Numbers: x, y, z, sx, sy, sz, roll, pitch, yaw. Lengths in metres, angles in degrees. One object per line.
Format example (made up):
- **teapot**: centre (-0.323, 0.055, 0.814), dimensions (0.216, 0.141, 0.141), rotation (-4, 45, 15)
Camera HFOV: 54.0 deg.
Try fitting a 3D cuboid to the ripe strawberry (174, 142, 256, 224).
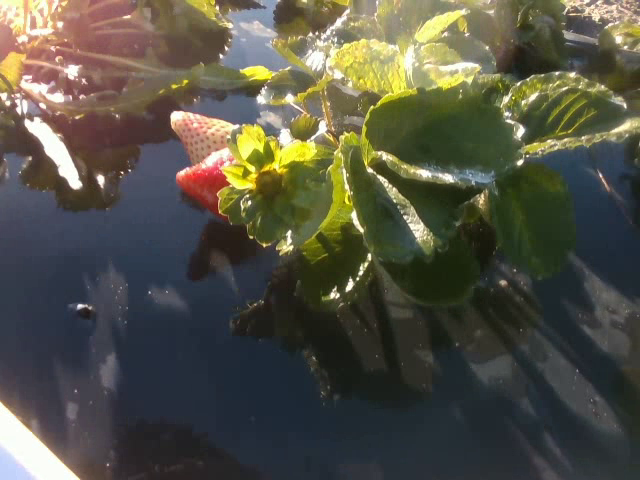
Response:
- **ripe strawberry**: centre (-0.048, -0.029, 0.290), dimensions (0.040, 0.038, 0.055), rotation (8, -10, 43)
